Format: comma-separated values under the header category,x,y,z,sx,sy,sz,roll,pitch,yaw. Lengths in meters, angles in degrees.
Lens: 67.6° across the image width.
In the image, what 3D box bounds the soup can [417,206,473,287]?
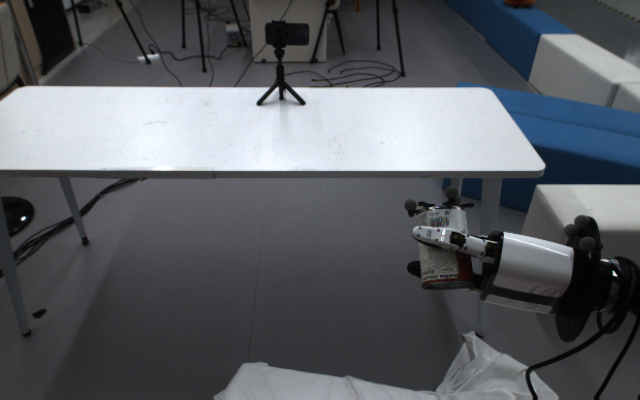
category,x,y,z,sx,sy,sz,roll,pitch,yaw
soup can,0.166,0.062,0.645,0.067,0.067,0.101,-1,72,-4
